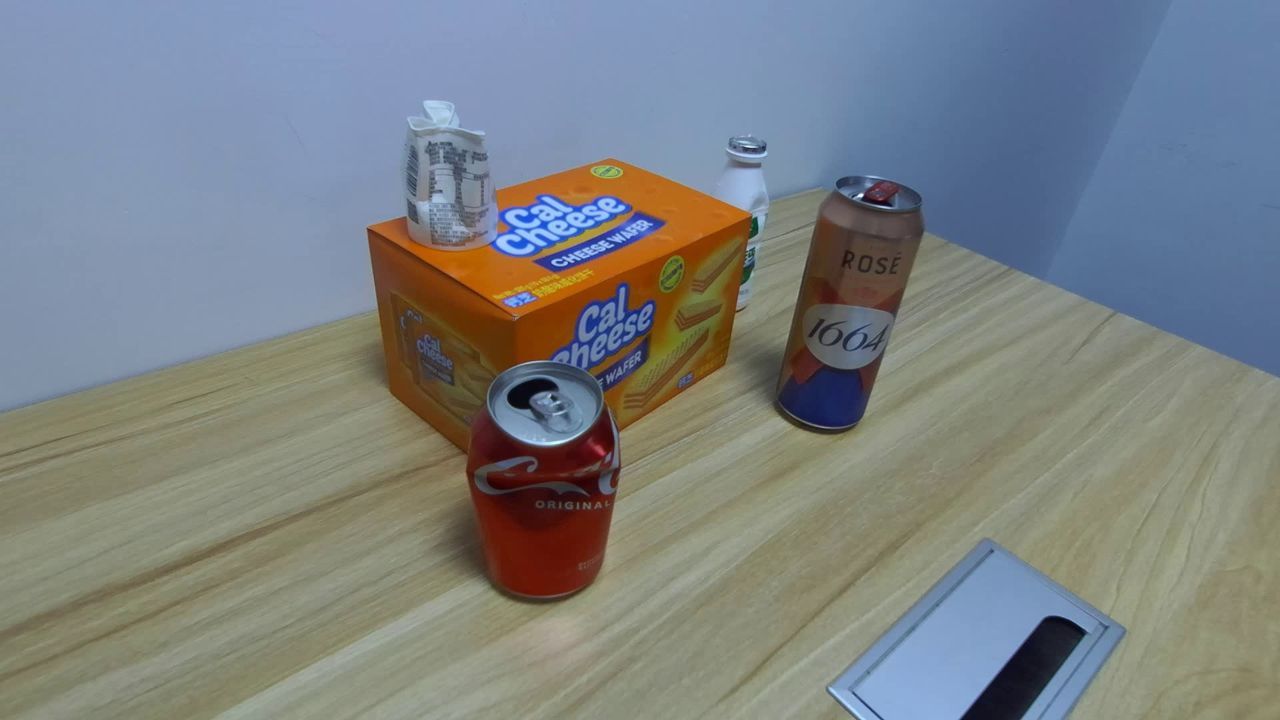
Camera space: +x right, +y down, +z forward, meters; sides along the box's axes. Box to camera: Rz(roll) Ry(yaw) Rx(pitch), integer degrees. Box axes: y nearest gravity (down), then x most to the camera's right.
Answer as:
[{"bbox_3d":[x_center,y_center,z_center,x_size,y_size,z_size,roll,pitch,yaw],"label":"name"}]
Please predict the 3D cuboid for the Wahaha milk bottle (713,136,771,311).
[{"bbox_3d":[0.081,-0.109,0.608,0.053,0.137,0.053,5,35,-3],"label":"Wahaha milk bottle"}]

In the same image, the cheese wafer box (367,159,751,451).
[{"bbox_3d":[-0.048,-0.040,0.497,0.147,0.129,0.222,30,41,31],"label":"cheese wafer box"}]

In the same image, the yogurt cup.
[{"bbox_3d":[-0.111,-0.107,0.411,0.055,0.072,0.055,3,35,-5],"label":"yogurt cup"}]

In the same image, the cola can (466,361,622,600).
[{"bbox_3d":[-0.045,0.061,0.359,0.072,0.117,0.065,6,34,2],"label":"cola can"}]

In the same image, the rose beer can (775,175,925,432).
[{"bbox_3d":[0.139,-0.033,0.478,0.069,0.169,0.068,5,34,-3],"label":"rose beer can"}]
